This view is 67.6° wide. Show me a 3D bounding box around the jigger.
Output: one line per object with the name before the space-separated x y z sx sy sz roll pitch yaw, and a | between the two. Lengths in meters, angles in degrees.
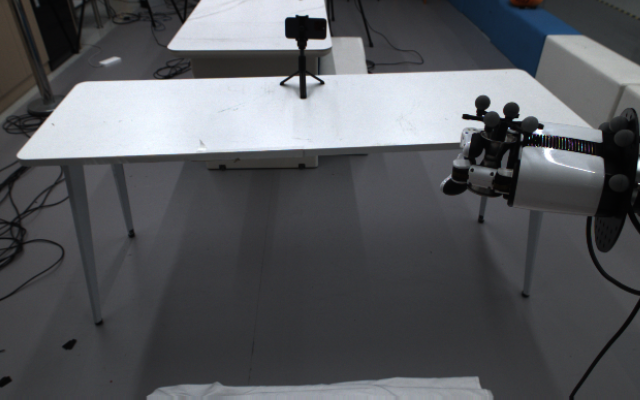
jigger | 0.203 -0.043 0.574 0.043 0.071 0.043 6 26 -3
